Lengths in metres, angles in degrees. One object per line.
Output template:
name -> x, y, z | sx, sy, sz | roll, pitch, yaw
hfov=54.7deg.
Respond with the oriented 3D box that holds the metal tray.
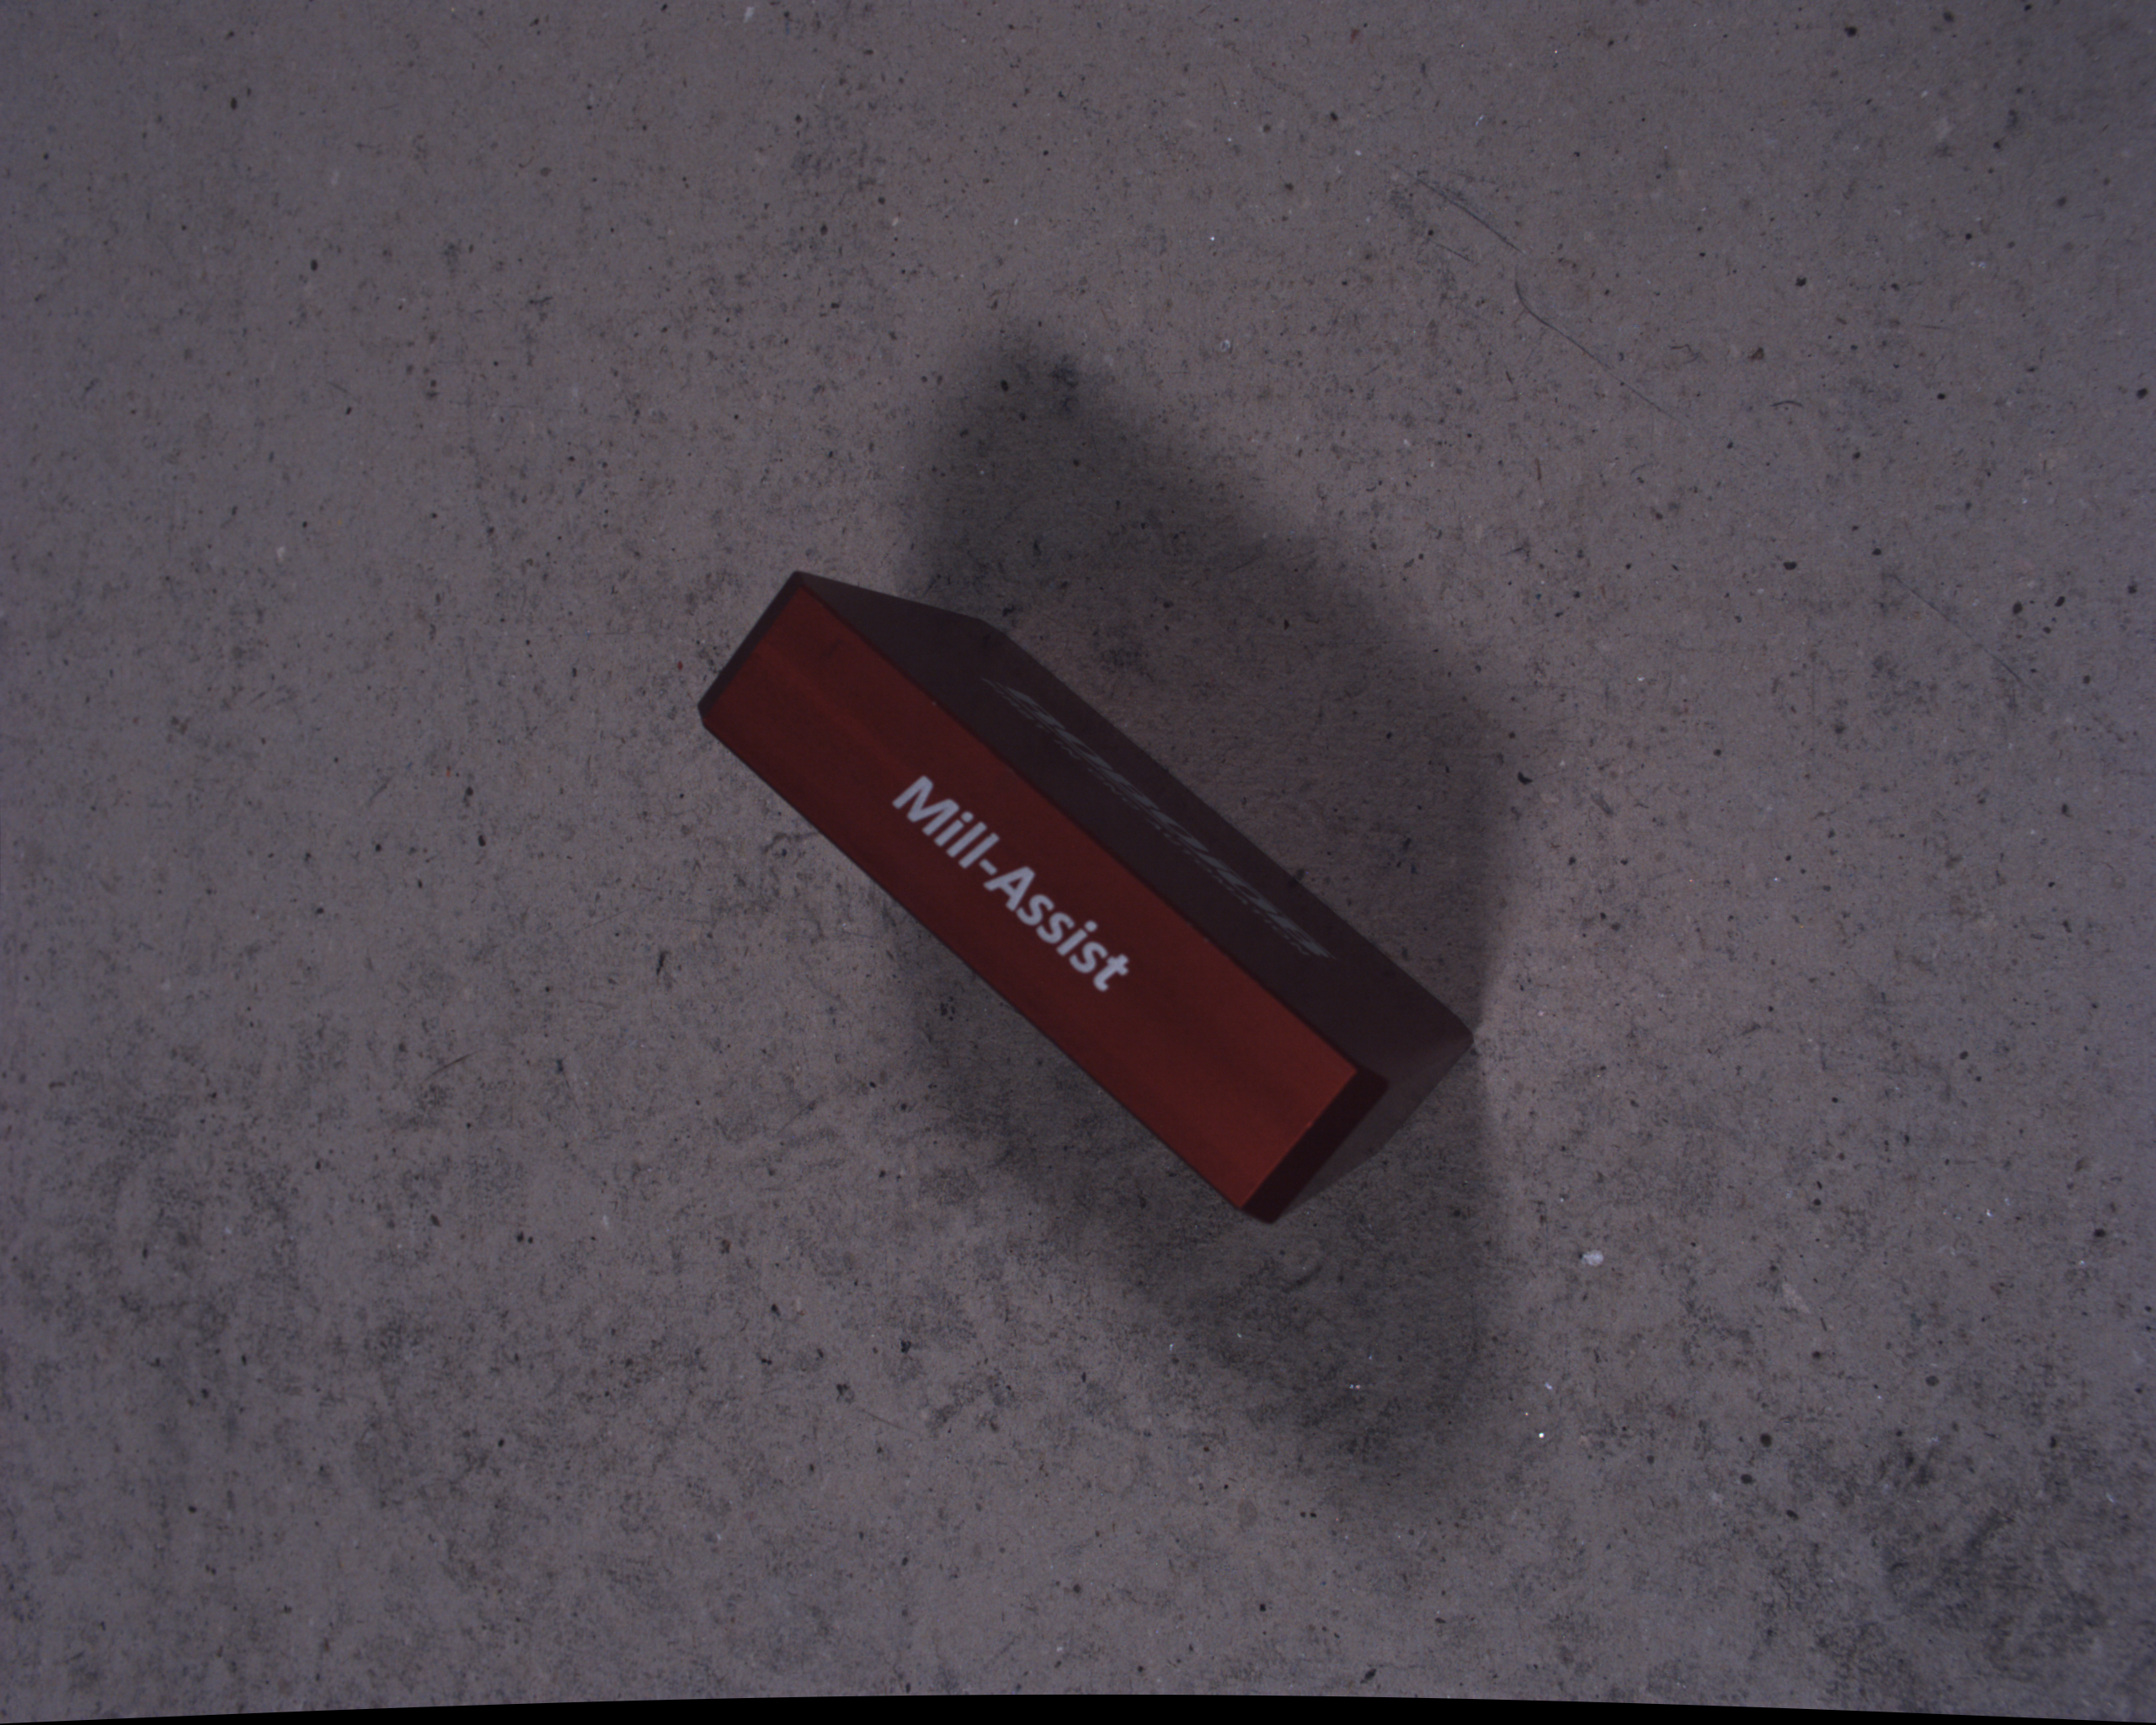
metal tray -> 0.005, 0.003, 0.373 | 0.130, 0.090, 0.030 | 41, 103, 15
